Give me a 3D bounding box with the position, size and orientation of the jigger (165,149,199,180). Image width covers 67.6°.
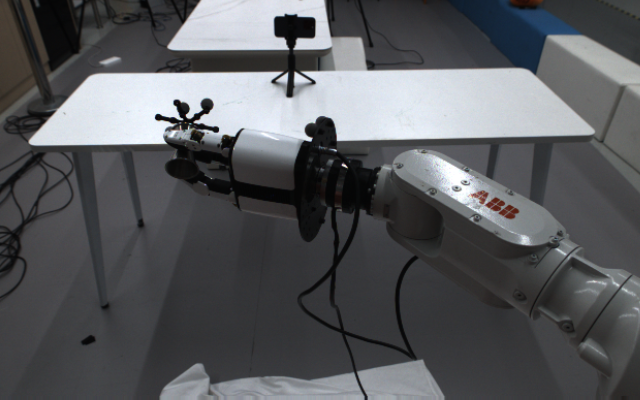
[{"bbox_3d":[-0.187,-0.068,0.662,0.043,0.043,0.071,-1,54,-5],"label":"jigger"}]
